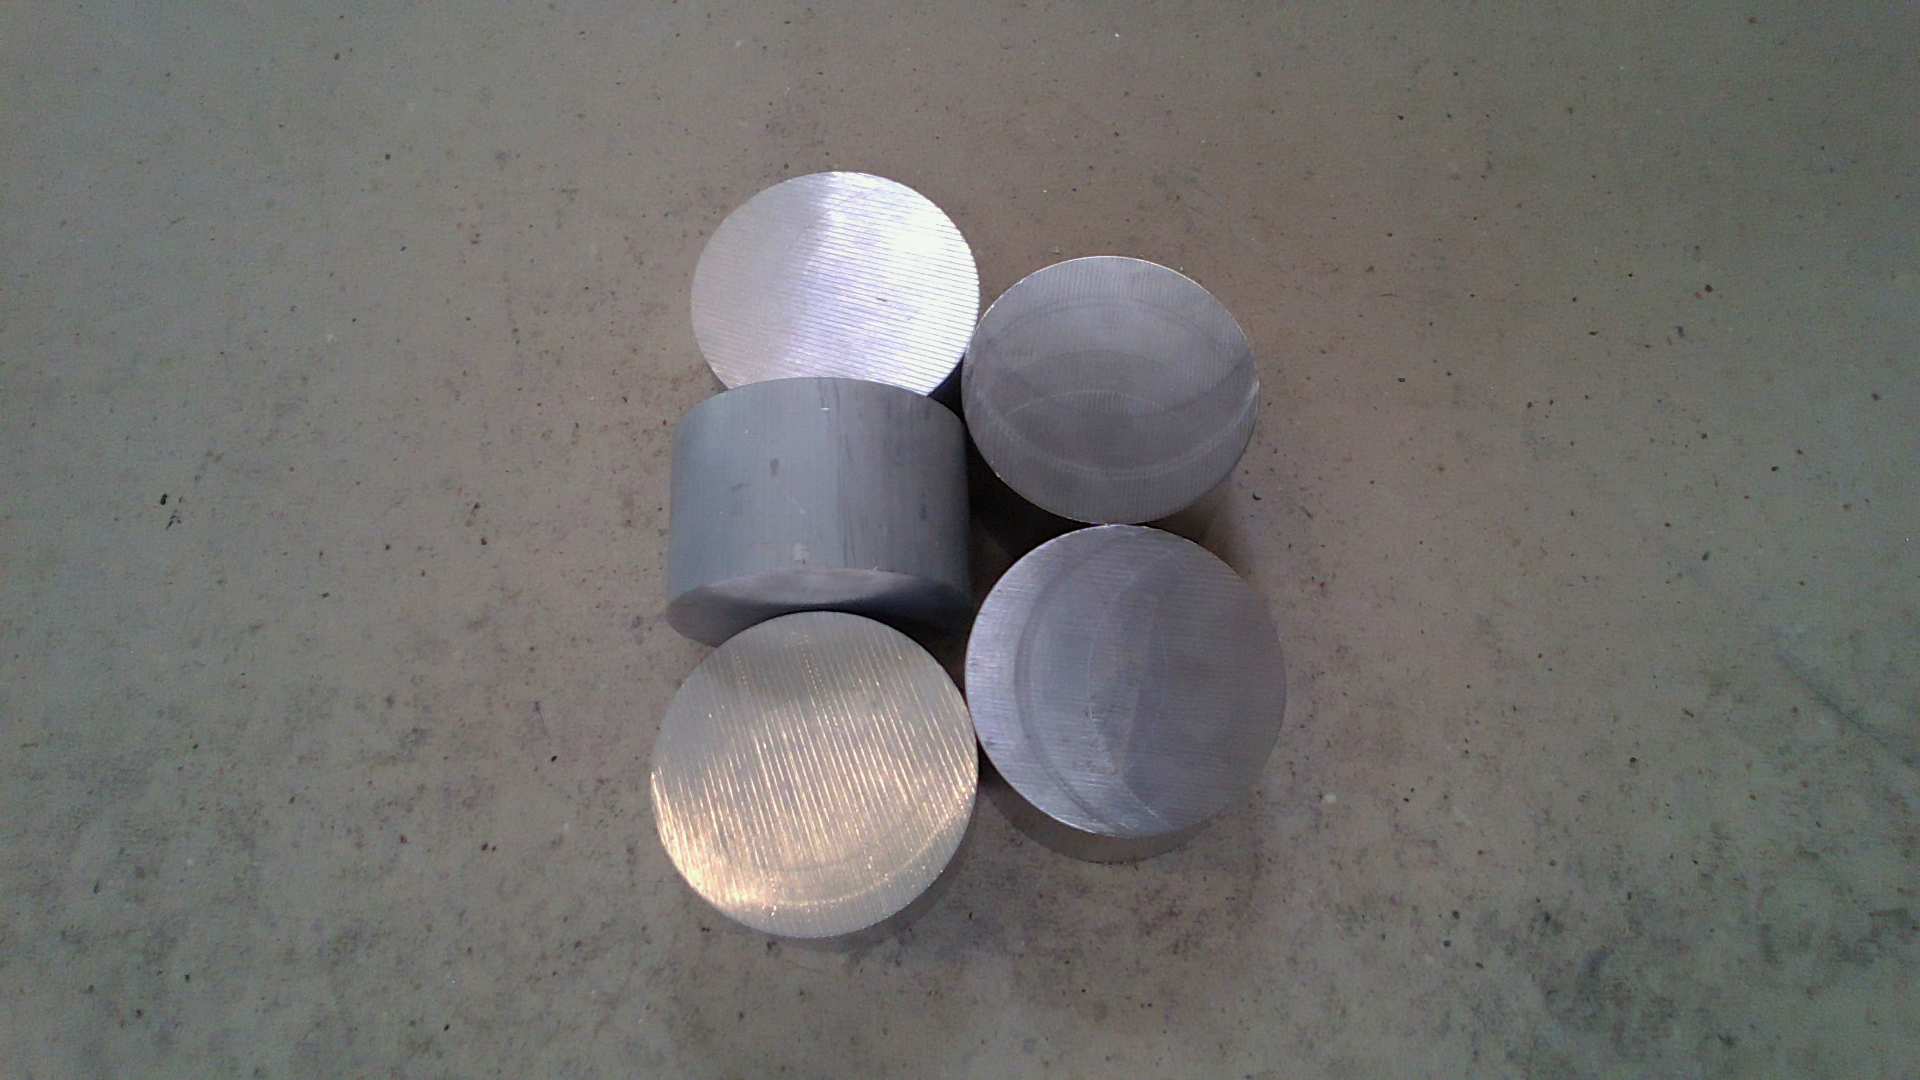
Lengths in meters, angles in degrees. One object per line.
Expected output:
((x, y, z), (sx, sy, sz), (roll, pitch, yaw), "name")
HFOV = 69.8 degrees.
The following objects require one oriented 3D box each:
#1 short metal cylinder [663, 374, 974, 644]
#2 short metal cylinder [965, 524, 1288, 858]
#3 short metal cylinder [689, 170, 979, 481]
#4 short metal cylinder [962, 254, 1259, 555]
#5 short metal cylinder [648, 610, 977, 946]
((-0.038, -0.004, 0.367), (0.080, 0.080, 0.050), (-3, 70, -1), "short metal cylinder")
((0.042, 0.042, 0.365), (0.080, 0.050, 0.080), (0, 70, 1), "short metal cylinder")
((-0.034, -0.060, 0.403), (0.080, 0.050, 0.080), (0, 70, 1), "short metal cylinder")
((0.041, -0.034, 0.393), (0.080, 0.050, 0.080), (0, 70, 0), "short metal cylinder")
((-0.035, 0.064, 0.358), (0.080, 0.050, 0.080), (0, 70, 1), "short metal cylinder")
